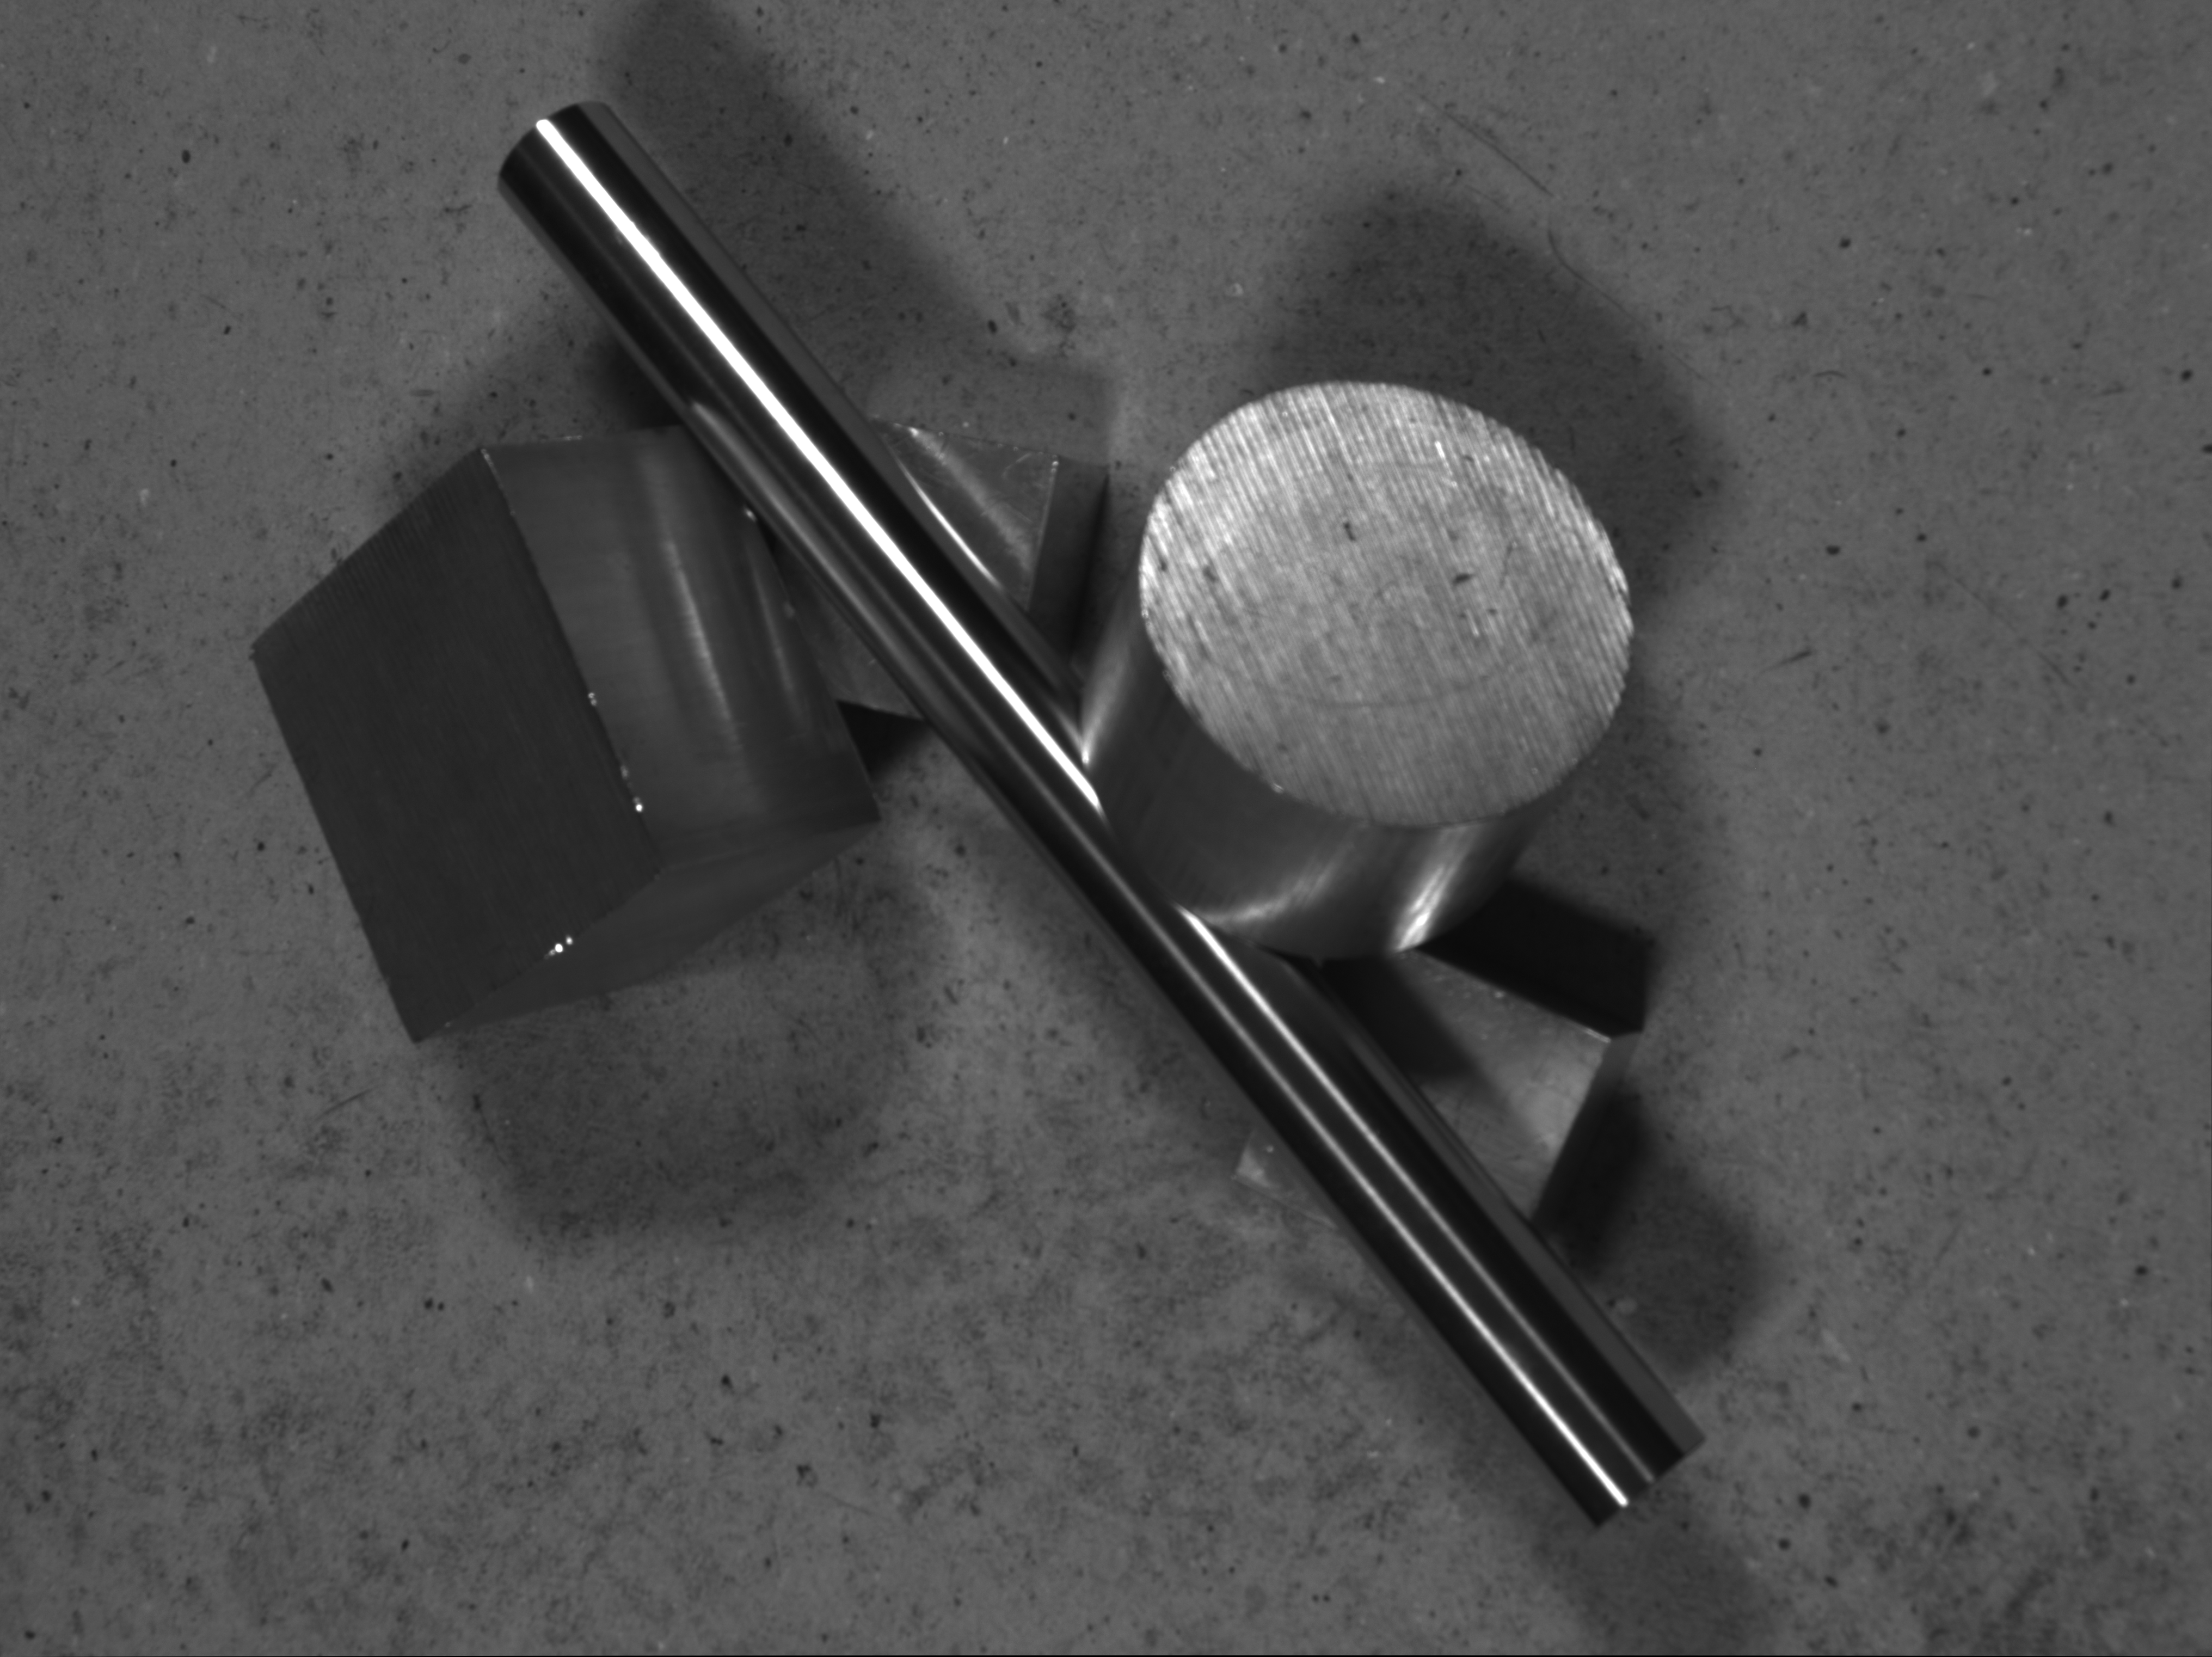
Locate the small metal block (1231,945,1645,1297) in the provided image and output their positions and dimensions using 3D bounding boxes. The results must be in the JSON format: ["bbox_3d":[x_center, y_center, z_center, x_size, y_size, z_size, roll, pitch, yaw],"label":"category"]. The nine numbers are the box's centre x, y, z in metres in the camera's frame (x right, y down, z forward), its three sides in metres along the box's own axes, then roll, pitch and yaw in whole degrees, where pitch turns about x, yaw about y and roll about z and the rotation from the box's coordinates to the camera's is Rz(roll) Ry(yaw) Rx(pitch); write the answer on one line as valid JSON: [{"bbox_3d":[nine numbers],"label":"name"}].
[{"bbox_3d":[0.057,0.047,0.625,0.050,0.025,0.050,26,98,18],"label":"small metal block"}]

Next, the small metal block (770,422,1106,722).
[{"bbox_3d":[-0.032,-0.045,0.656,0.050,0.025,0.050,13,94,19],"label":"small metal block"}]

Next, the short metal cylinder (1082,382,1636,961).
[{"bbox_3d":[0.040,-0.025,0.596,0.080,0.050,0.080,5,64,-11],"label":"short metal cylinder"}]

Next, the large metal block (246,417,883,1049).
[{"bbox_3d":[-0.097,-0.017,0.648,0.080,0.050,0.080,-31,80,41],"label":"large metal block"}]

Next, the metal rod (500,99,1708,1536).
[{"bbox_3d":[-0.005,-0.008,0.620,0.025,0.025,0.300,-43,77,15],"label":"metal rod"}]
